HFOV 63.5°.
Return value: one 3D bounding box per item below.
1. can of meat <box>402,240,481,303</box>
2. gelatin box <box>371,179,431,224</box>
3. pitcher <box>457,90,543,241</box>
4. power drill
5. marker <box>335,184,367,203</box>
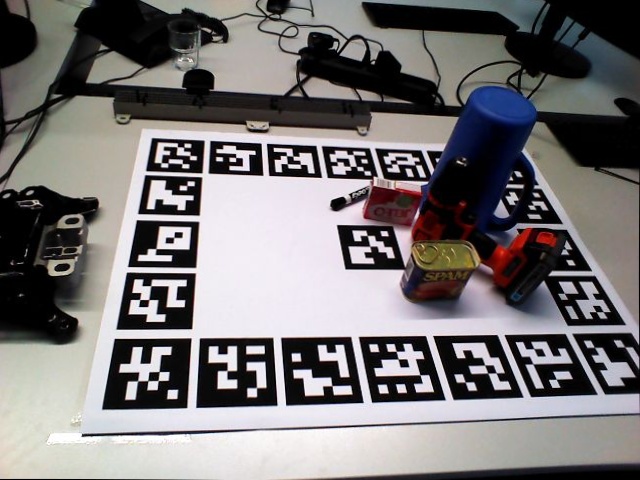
[{"bbox_3d":[0.181,0.050,0.784,0.102,0.084,0.057,2,45,-9],"label":"can of meat"},{"bbox_3d":[0.141,-0.065,0.896,0.089,0.074,0.030,11,50,-2],"label":"gelatin box"},{"bbox_3d":[0.294,-0.114,0.862,0.189,0.243,0.132,22,51,19],"label":"pitcher"},{"bbox_3d":[0.250,-0.026,0.803,0.187,0.185,0.057,32,52,11],"label":"power drill"},{"bbox_3d":[0.081,-0.091,0.943,0.120,0.020,0.019,-19,54,-24],"label":"marker"}]
